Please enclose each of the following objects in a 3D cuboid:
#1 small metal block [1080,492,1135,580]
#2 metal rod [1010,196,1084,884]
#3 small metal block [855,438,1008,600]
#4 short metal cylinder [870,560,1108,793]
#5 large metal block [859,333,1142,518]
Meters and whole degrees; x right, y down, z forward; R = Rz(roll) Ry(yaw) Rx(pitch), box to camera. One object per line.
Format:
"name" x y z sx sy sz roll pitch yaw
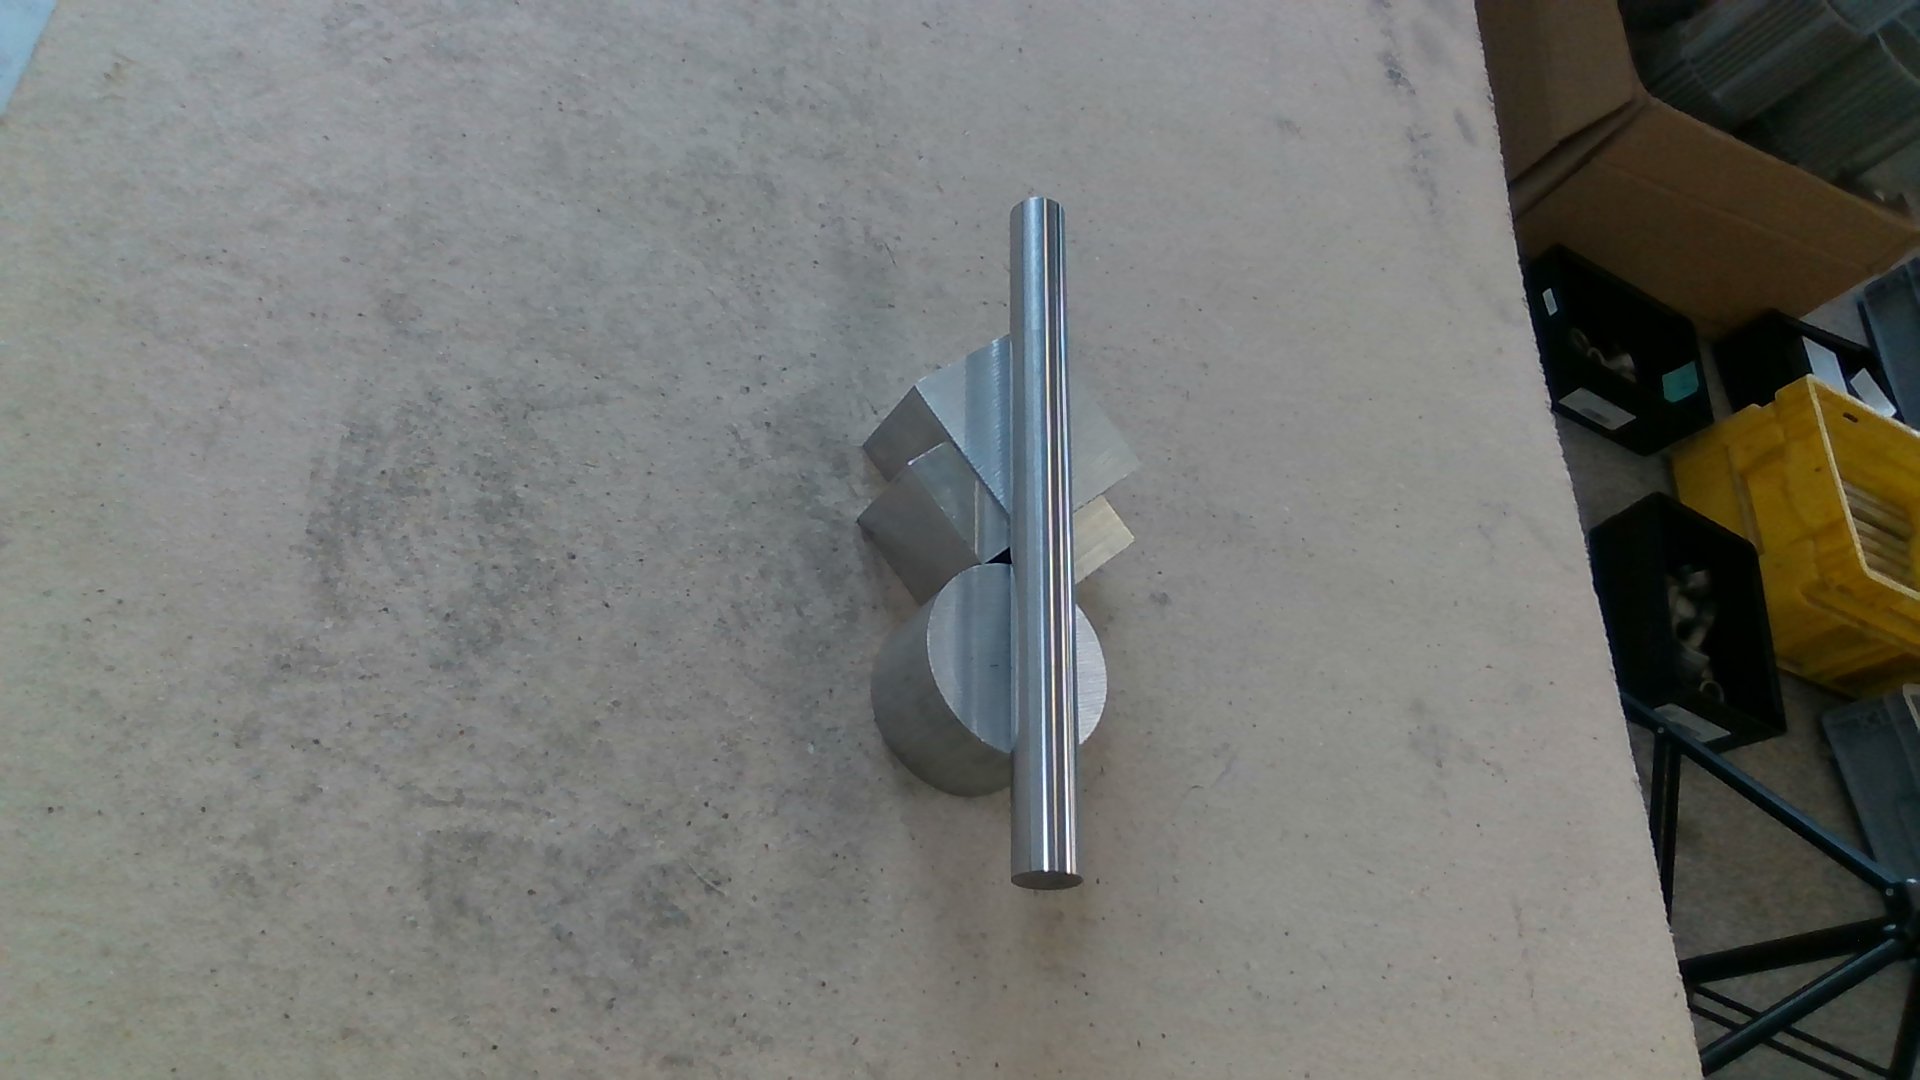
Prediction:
"small metal block" 0.039 0.011 0.590 0.050 0.050 0.025 -33 85 -39
"metal rod" 0.032 -0.014 0.547 0.025 0.025 0.299 15 58 -24
"small metal block" -0.010 -0.006 0.569 0.025 0.050 0.050 -34 85 -39
"short metal cylinder" 0.011 0.055 0.547 0.080 0.050 0.080 14 59 -25
"large metal block" 0.018 -0.038 0.600 0.080 0.050 0.080 -33 85 -39
